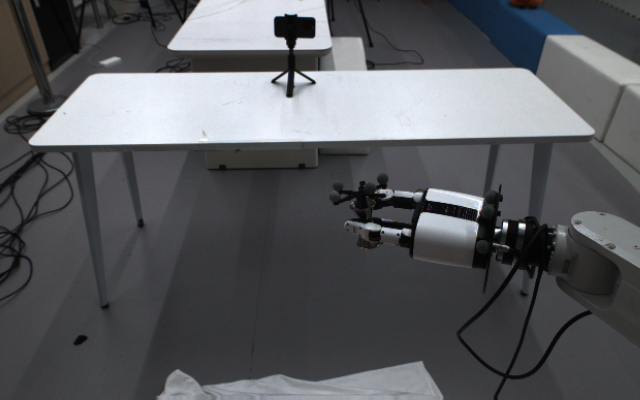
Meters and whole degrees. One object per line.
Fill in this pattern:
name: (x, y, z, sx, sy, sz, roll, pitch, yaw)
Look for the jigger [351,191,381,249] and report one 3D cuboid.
jigger: (0.072, 0.035, 0.749, 0.043, 0.071, 0.043, -11, 24, 5)
